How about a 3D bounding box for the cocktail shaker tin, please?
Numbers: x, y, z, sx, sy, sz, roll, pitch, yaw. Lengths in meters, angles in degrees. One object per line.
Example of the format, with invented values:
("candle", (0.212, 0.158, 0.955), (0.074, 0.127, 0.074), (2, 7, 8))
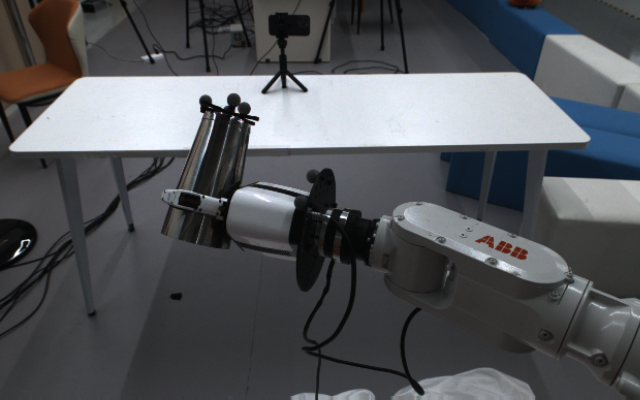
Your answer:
("cocktail shaker tin", (-0.146, -0.027, 0.651), (0.093, 0.170, 0.093), (14, -4, 1))
